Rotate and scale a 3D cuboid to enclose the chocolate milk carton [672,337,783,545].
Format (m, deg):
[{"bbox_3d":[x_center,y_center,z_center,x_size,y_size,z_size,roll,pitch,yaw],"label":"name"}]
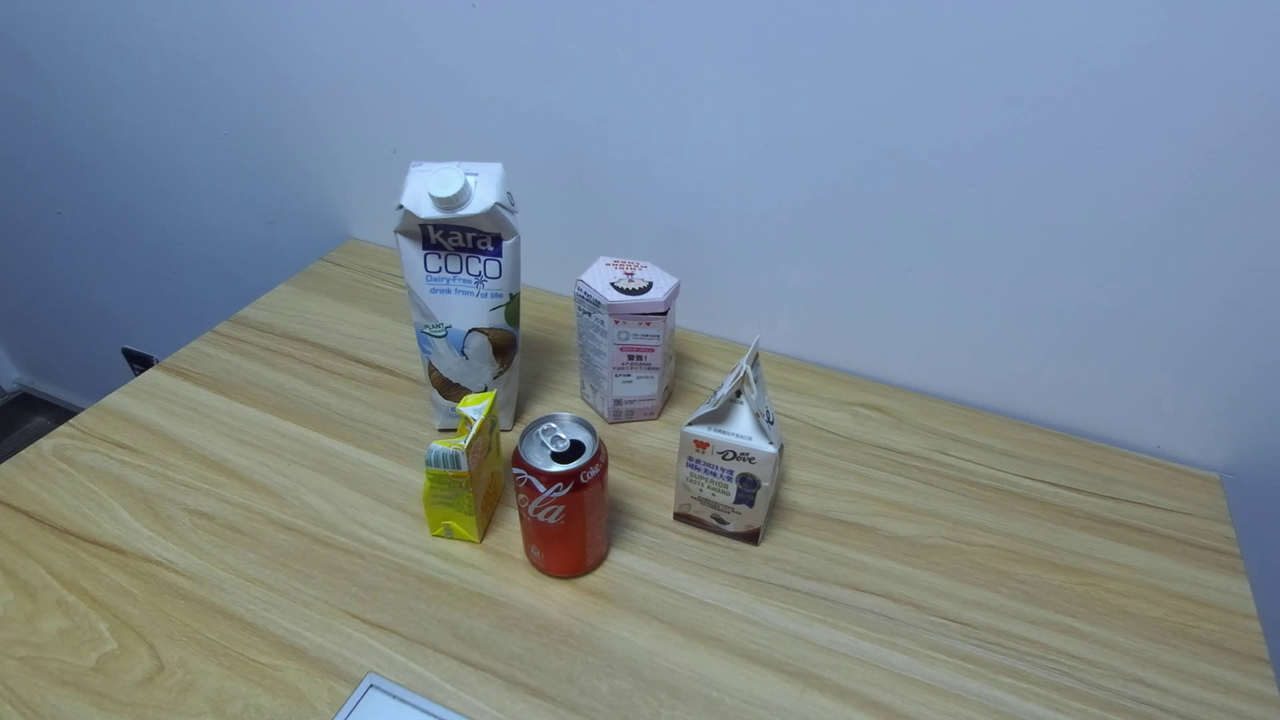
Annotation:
[{"bbox_3d":[0.075,0.057,0.536,0.073,0.155,0.084,15,41,17],"label":"chocolate milk carton"}]

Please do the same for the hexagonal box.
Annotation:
[{"bbox_3d":[-0.011,-0.017,0.637,0.092,0.135,0.085,-3,39,-5],"label":"hexagonal box"}]

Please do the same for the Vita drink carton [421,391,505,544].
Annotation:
[{"bbox_3d":[-0.136,0.079,0.540,0.046,0.110,0.071,8,38,6],"label":"Vita drink carton"}]

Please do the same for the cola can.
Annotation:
[{"bbox_3d":[-0.056,0.099,0.513,0.068,0.120,0.067,0,39,0],"label":"cola can"}]

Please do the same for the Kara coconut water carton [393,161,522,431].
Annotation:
[{"bbox_3d":[-0.142,-0.050,0.588,0.100,0.244,0.071,-2,39,-4],"label":"Kara coconut water carton"}]
